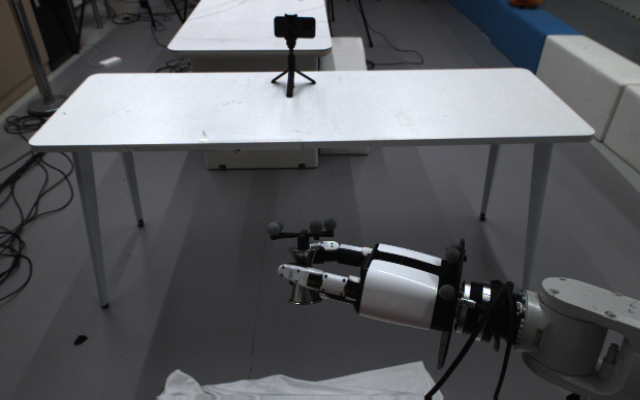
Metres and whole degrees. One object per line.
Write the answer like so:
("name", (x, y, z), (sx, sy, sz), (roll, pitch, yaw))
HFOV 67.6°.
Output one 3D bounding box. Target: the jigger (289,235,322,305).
("jigger", (-0.020, 0.095, 0.619), (0.043, 0.071, 0.043), (-2, 3, 0))
